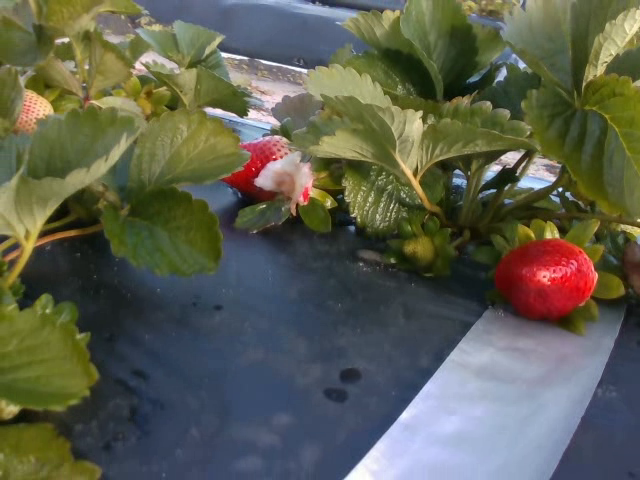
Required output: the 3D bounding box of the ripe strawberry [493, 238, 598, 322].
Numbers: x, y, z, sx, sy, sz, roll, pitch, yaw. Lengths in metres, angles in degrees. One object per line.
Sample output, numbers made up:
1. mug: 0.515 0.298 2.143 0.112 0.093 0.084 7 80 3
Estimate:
1. ripe strawberry: 0.085 0.012 0.233 0.050 0.035 0.055 34 33 30
